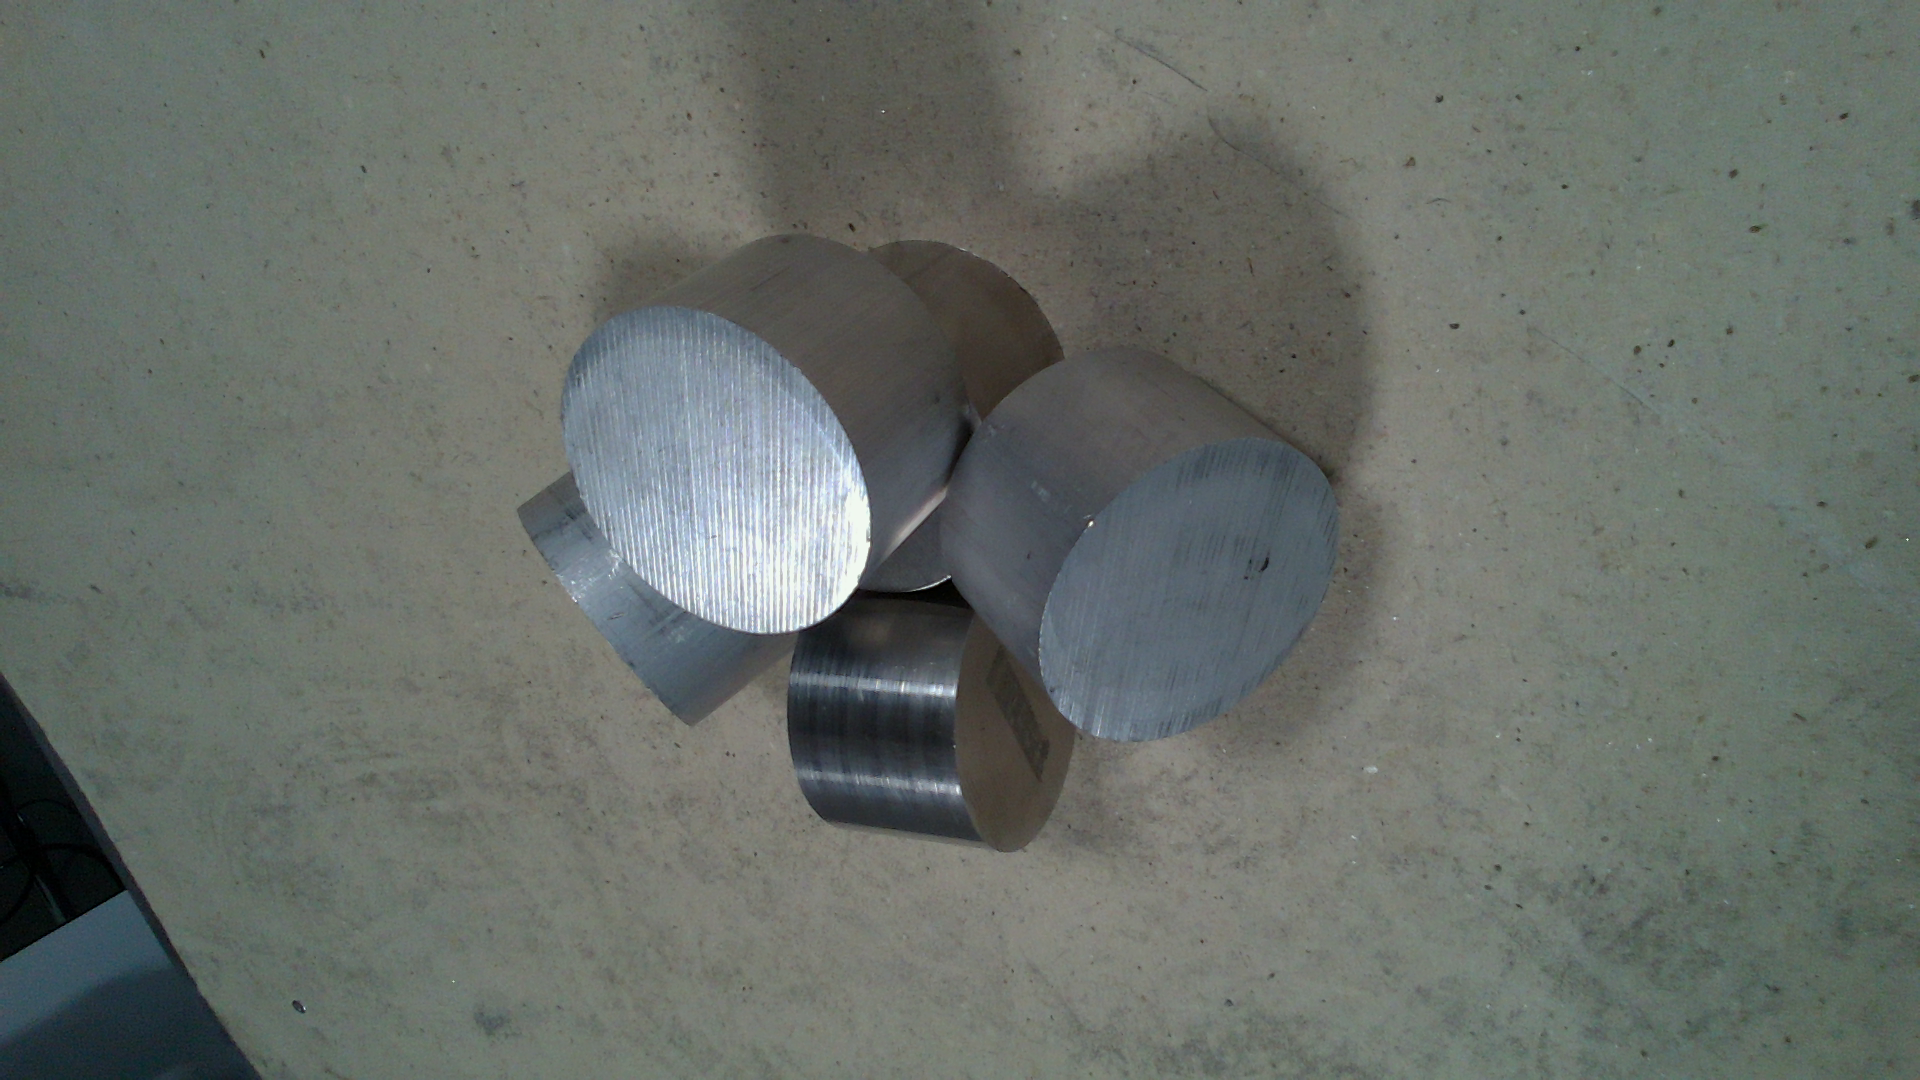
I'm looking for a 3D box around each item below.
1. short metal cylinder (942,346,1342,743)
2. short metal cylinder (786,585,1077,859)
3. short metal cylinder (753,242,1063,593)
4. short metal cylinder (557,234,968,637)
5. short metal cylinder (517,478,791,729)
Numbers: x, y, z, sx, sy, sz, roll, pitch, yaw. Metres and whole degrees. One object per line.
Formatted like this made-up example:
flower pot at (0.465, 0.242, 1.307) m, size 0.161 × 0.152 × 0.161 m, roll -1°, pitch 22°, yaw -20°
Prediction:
short metal cylinder at (0.043, 0.001, 0.327) m, size 0.050 × 0.080 × 0.080 m, roll 47°, pitch 144°, yaw 49°
short metal cylinder at (-0.005, 0.046, 0.387) m, size 0.050 × 0.080 × 0.080 m, roll 2°, pitch 119°, yaw 28°
short metal cylinder at (-0.017, -0.033, 0.366) m, size 0.080 × 0.050 × 0.080 m, roll 13°, pitch 124°, yaw 21°
short metal cylinder at (-0.045, -0.025, 0.320) m, size 0.080 × 0.050 × 0.080 m, roll 13°, pitch 124°, yaw 21°
short metal cylinder at (-0.082, 0.007, 0.400) m, size 0.080 × 0.050 × 0.080 m, roll 51°, pitch 172°, yaw 10°
